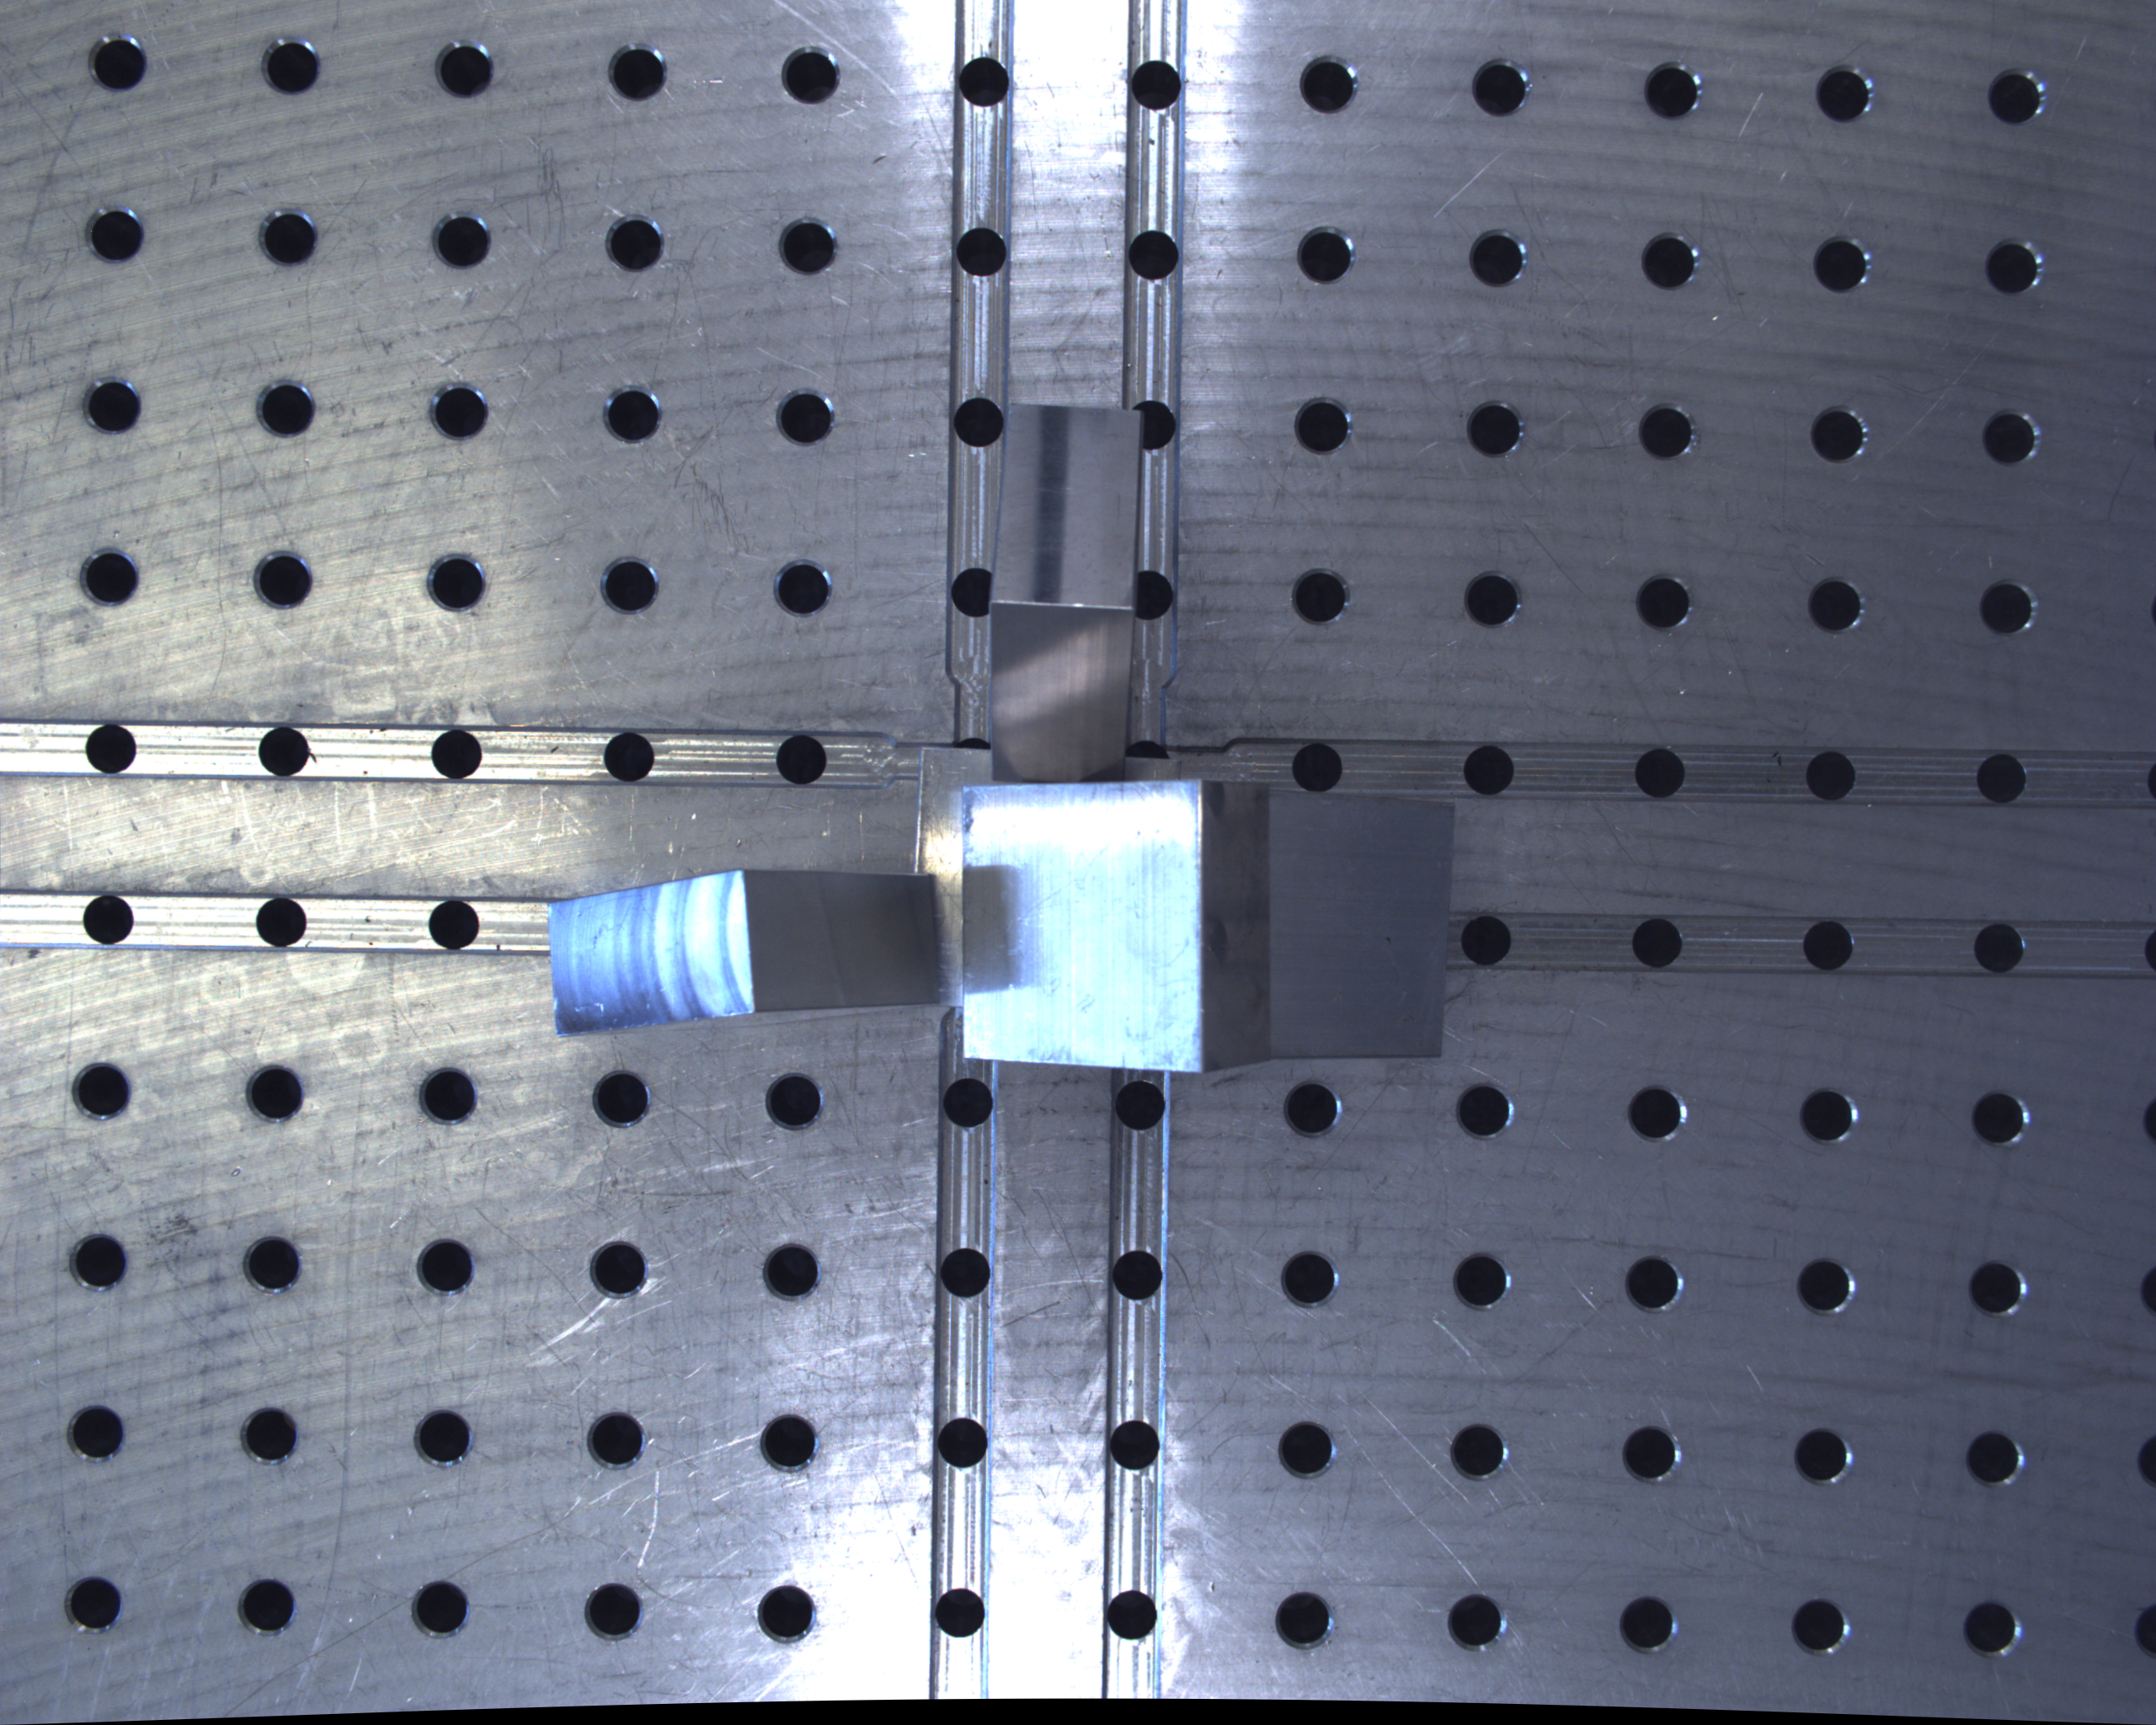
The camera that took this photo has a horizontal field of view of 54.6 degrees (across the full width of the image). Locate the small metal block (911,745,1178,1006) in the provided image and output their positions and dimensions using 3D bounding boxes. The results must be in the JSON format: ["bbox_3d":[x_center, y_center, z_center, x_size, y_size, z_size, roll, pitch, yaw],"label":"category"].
[{"bbox_3d":[-0.007,0.003,0.414,0.050,0.025,0.050,2,90,0],"label":"small metal block"}]

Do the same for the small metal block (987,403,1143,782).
[{"bbox_3d":[-0.002,-0.049,0.391,0.025,0.050,0.050,3,54,1],"label":"small metal block"}]

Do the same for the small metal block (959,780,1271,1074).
[{"bbox_3d":[0.006,0.011,0.377,0.050,0.025,0.050,0,90,33],"label":"small metal block"}]

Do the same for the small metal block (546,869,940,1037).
[{"bbox_3d":[-0.062,0.017,0.390,0.050,0.050,0.025,-9,84,35],"label":"small metal block"}]

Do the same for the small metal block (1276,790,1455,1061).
[{"bbox_3d":[0.044,0.012,0.403,0.050,0.025,0.050,3,90,-31],"label":"small metal block"}]
